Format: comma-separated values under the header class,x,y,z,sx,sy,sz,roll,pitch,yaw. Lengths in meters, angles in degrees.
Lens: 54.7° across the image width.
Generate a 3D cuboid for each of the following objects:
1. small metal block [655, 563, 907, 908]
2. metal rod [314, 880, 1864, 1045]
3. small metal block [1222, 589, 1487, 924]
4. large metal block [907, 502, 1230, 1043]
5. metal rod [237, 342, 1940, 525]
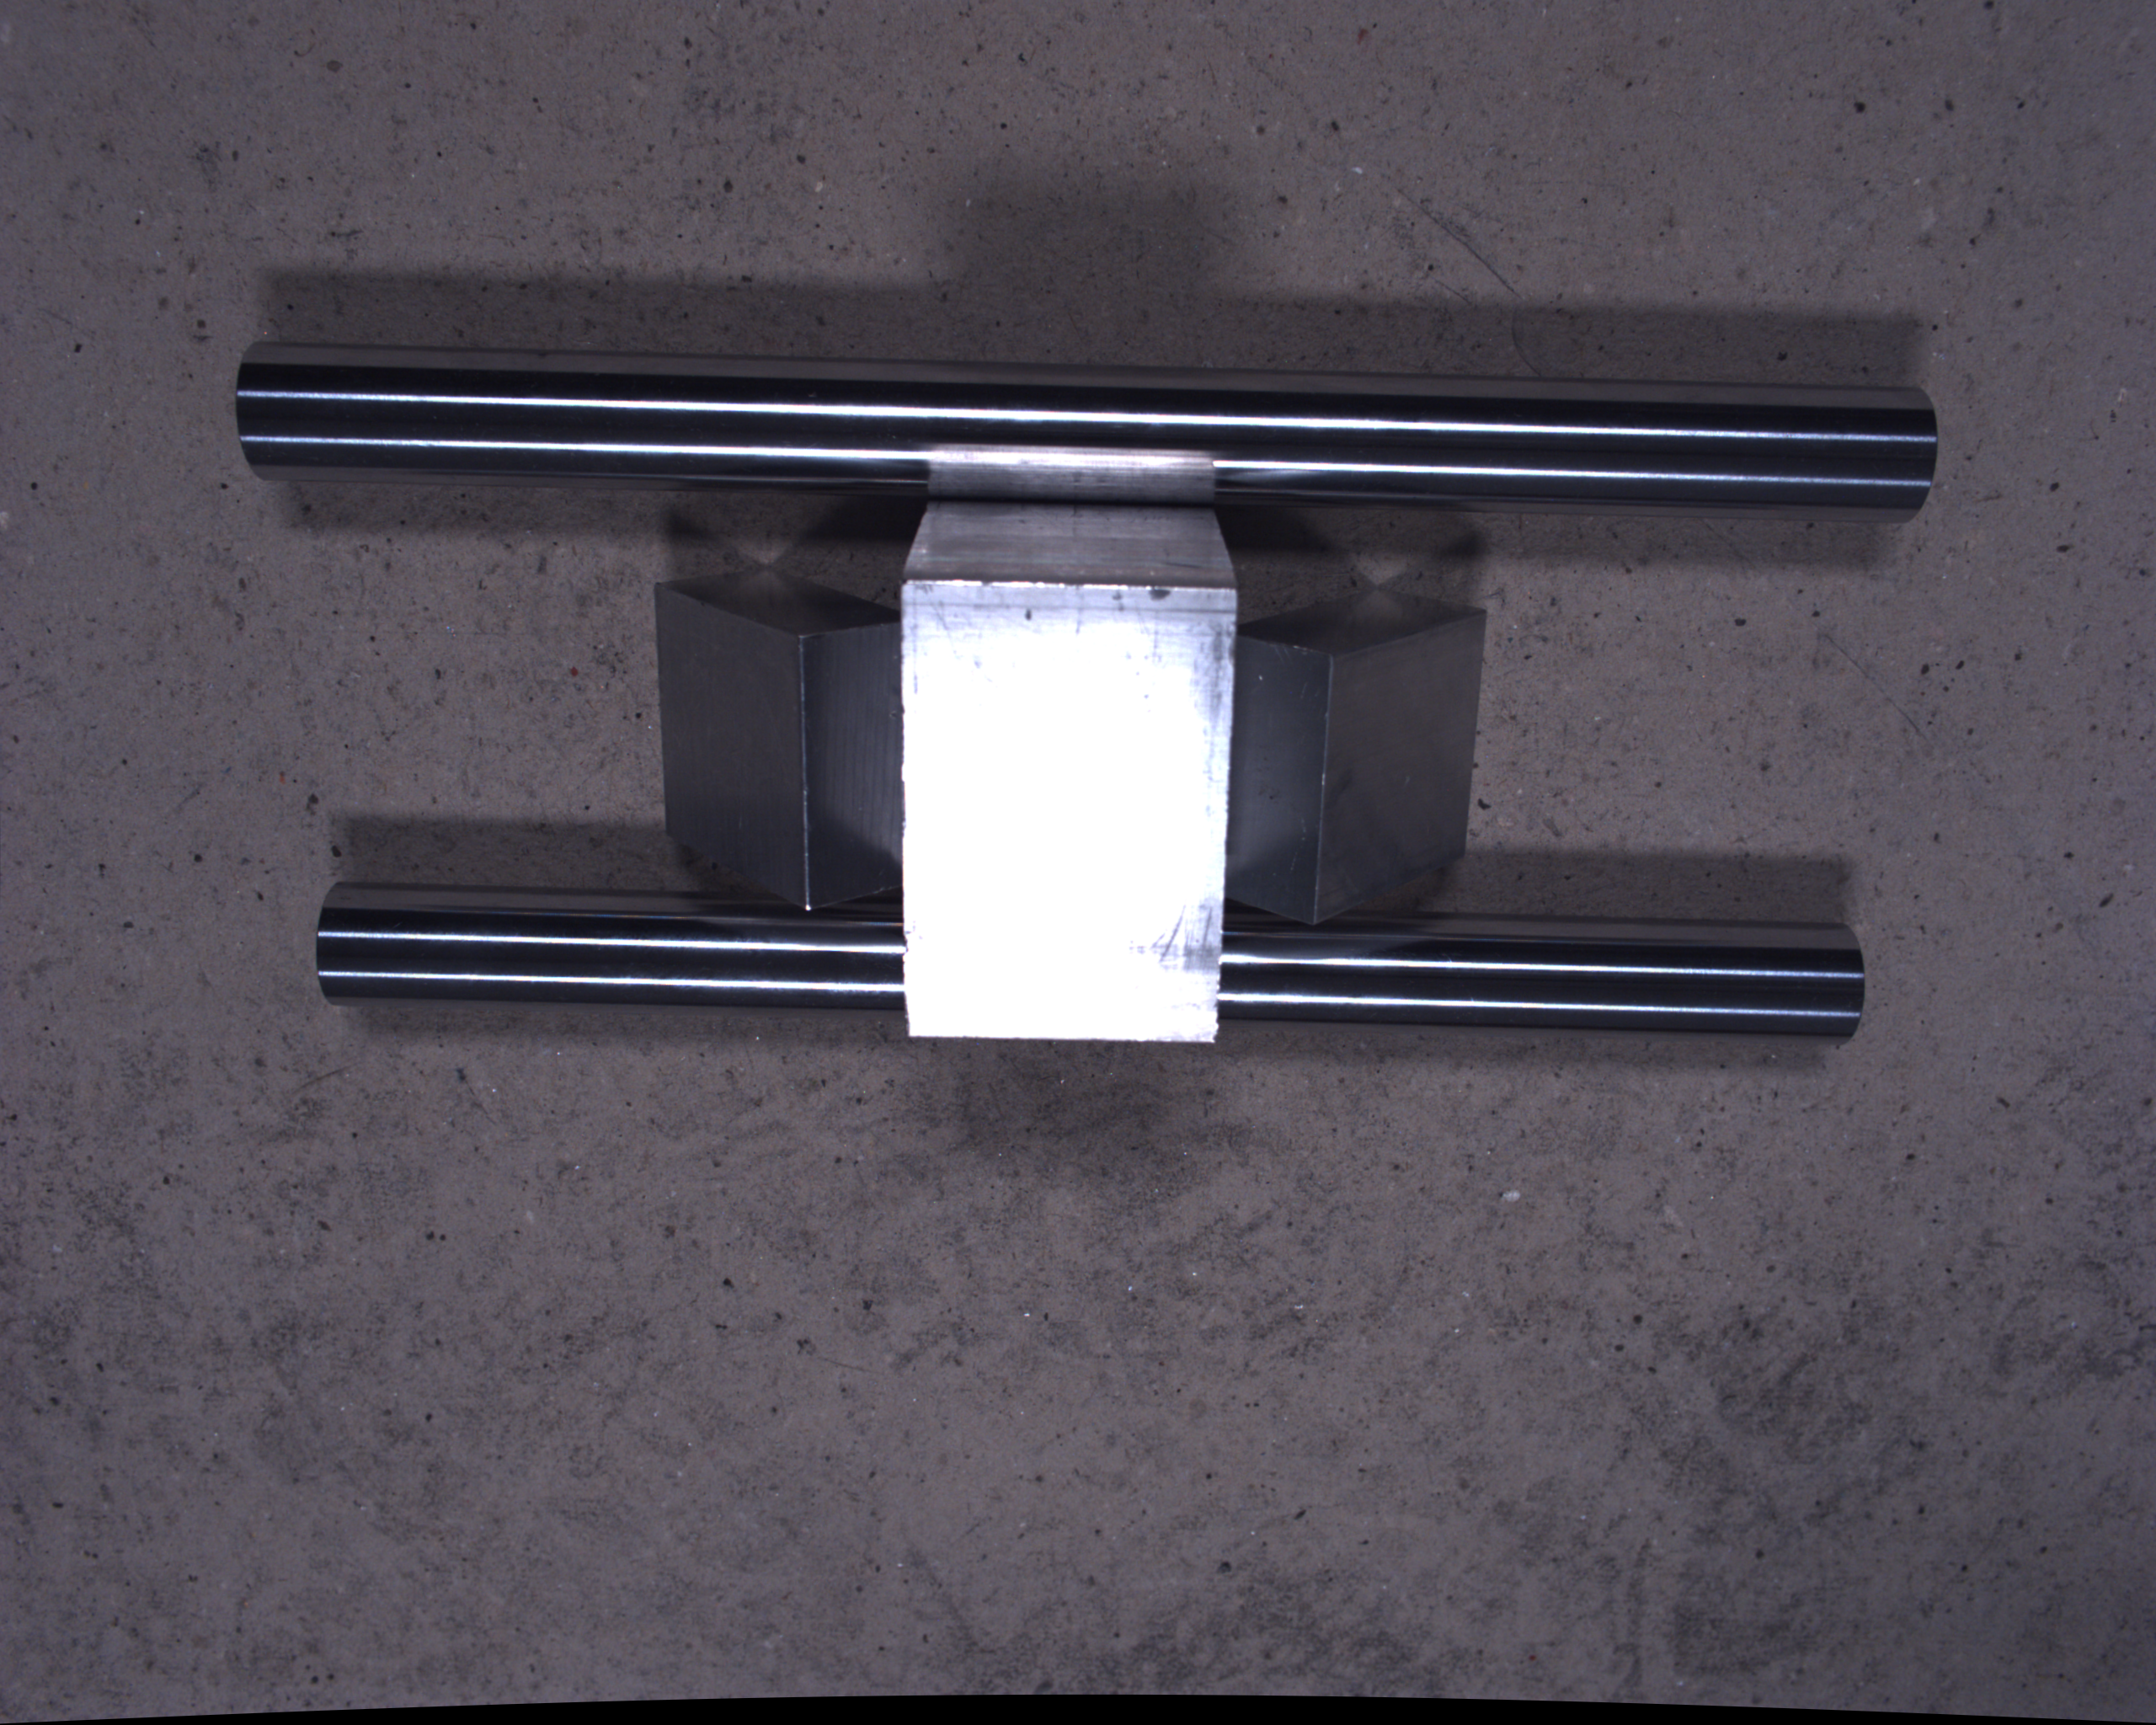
class,x,y,z,sx,sy,sz,roll,pitch,yaw
small metal block,-0.054,-0.025,0.386,0.025,0.050,0.050,-15,116,-37
metal rod,0.003,0.020,0.418,0.302,0.025,0.025,2,110,-1
small metal block,0.050,-0.021,0.389,0.025,0.050,0.050,17,115,38
large metal block,-0.002,-0.021,0.376,0.050,0.080,0.079,1,110,-1
metal rod,0.003,-0.078,0.382,0.302,0.025,0.025,1,110,-1
